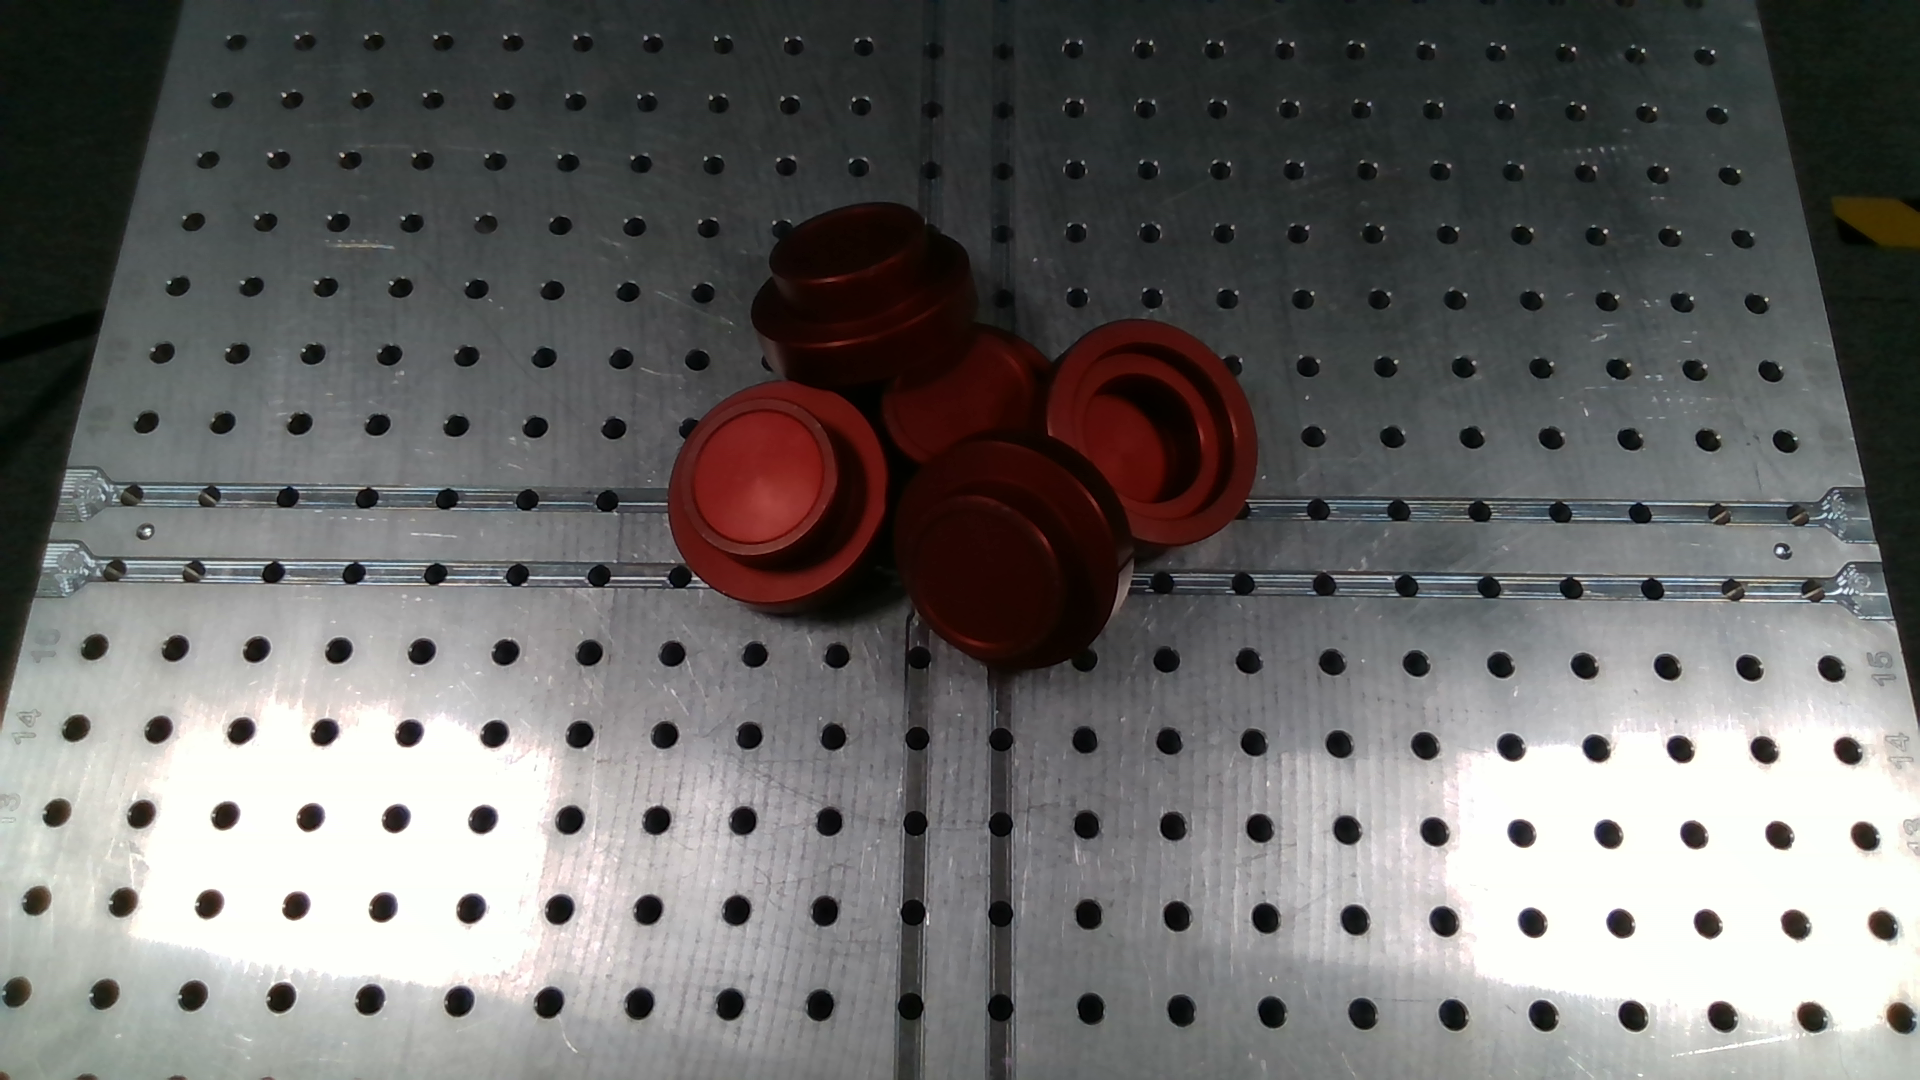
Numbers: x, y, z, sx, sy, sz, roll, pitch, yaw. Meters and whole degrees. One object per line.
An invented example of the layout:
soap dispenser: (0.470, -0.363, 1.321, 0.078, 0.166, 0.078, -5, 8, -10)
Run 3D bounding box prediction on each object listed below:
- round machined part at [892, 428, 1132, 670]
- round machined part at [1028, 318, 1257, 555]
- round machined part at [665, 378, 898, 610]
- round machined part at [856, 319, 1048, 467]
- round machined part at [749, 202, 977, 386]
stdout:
round machined part: (0.016, 0.008, 0.547, 0.098, 0.098, 0.042, 32, 32, 11)
round machined part: (0.073, -0.041, 0.584, 0.098, 0.042, 0.098, 6, 74, -20)
round machined part: (-0.078, -0.022, 0.576, 0.098, 0.042, 0.098, -3, 76, 11)
round machined part: (0.000, -0.054, 0.600, 0.098, 0.042, 0.098, 0, 70, 0)
round machined part: (-0.044, -0.112, 0.596, 0.098, 0.042, 0.098, -9, 39, 8)
